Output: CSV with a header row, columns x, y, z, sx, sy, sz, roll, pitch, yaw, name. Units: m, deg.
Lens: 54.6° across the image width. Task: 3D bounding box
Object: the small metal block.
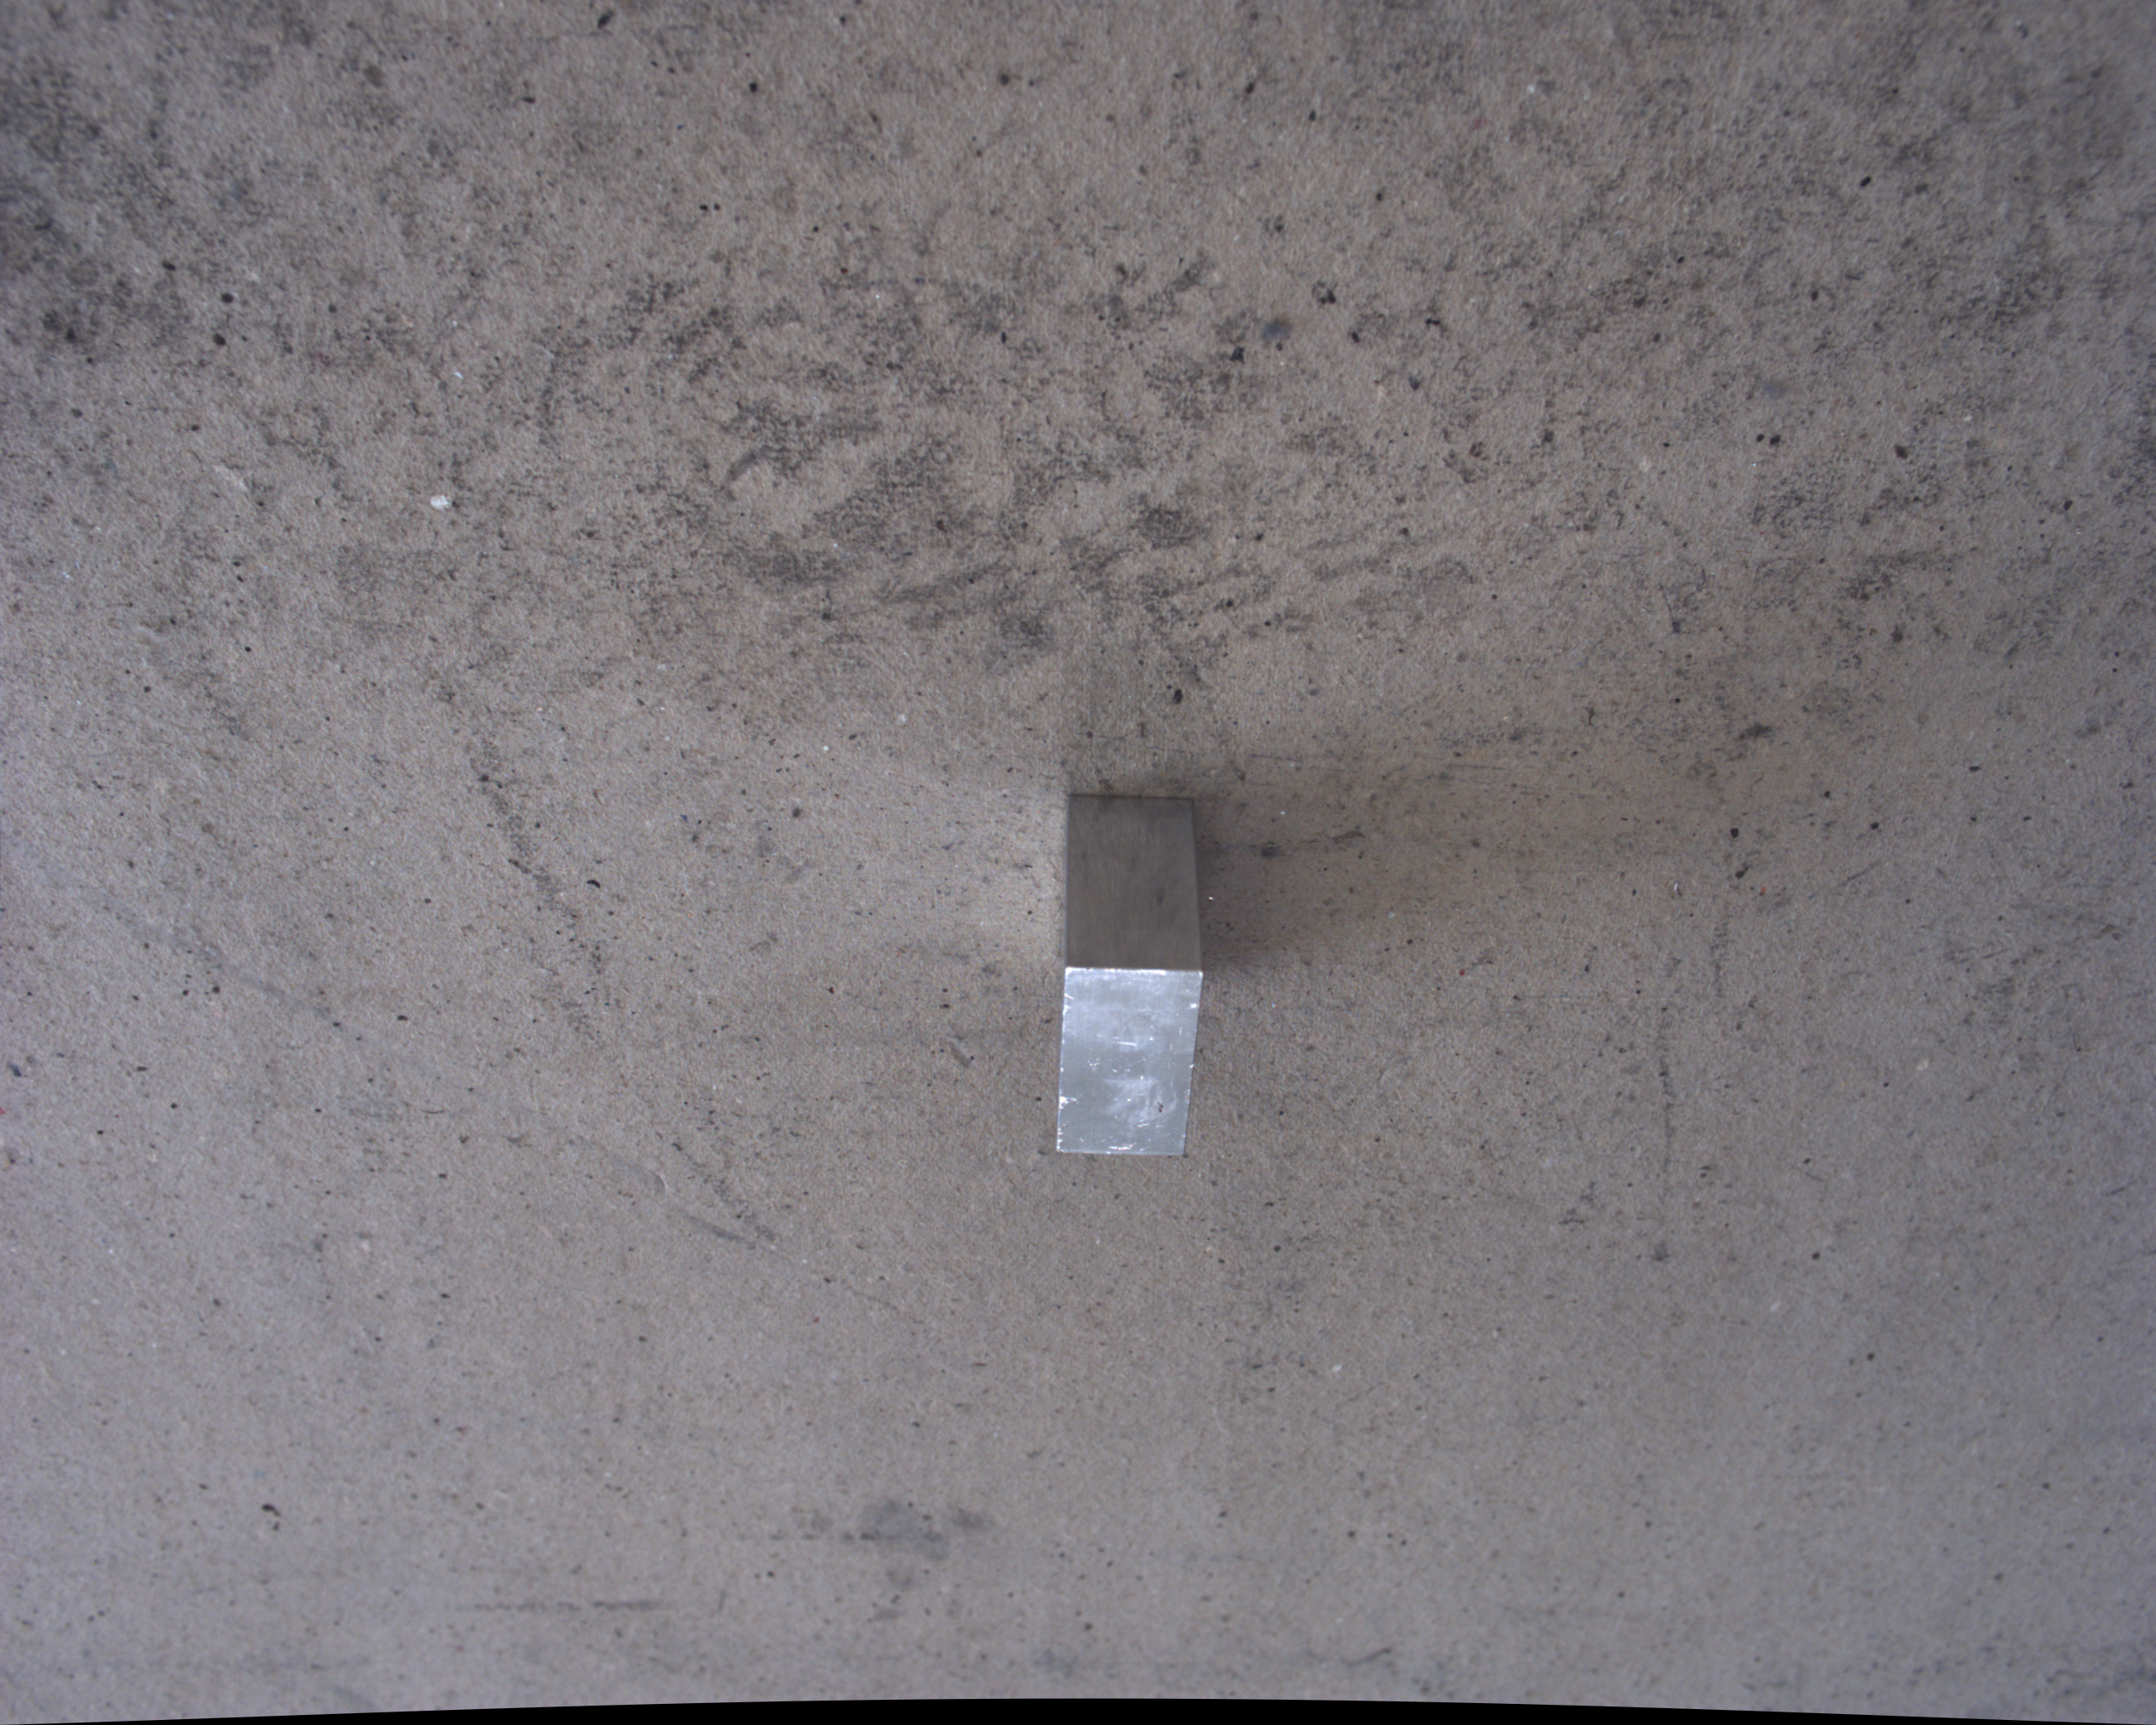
x,y,z,sx,sy,sz,roll,pitch,yaw,name
0.009,0.022,0.411,0.025,0.050,0.050,1,130,-2,small metal block
